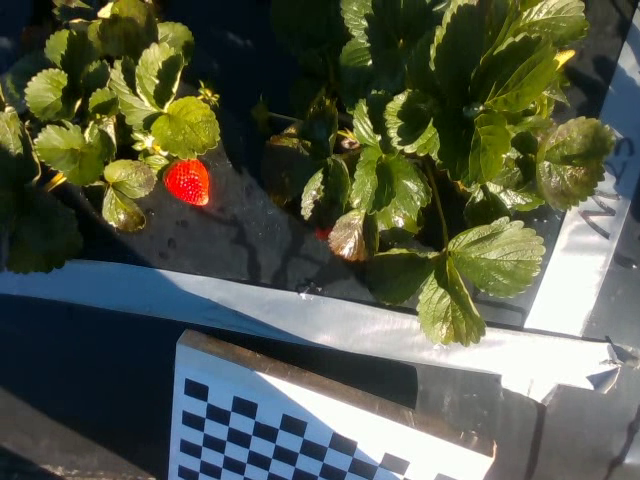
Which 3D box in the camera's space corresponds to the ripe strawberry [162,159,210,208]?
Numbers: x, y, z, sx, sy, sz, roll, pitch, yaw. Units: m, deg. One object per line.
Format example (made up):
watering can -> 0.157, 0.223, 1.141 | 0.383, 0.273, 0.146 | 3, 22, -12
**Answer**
ripe strawberry -> -0.122, -0.052, 0.574 | 0.045, 0.059, 0.042 | -43, -6, 36
